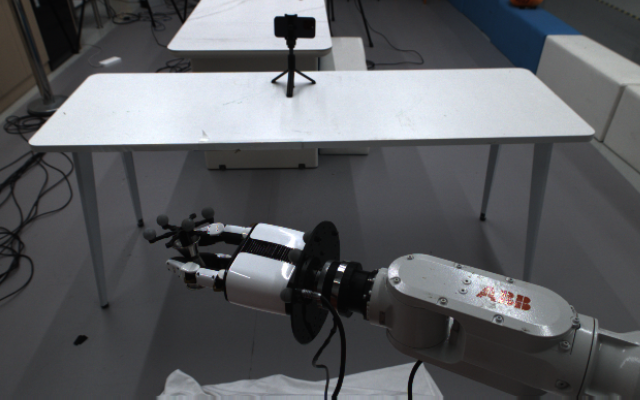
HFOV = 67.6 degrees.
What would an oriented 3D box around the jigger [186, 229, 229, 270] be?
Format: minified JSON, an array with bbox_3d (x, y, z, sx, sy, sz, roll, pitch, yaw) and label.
[{"bbox_3d":[-0.176,0.086,0.682,0.043,0.071,0.043,-12,25,5],"label":"jigger"}]
